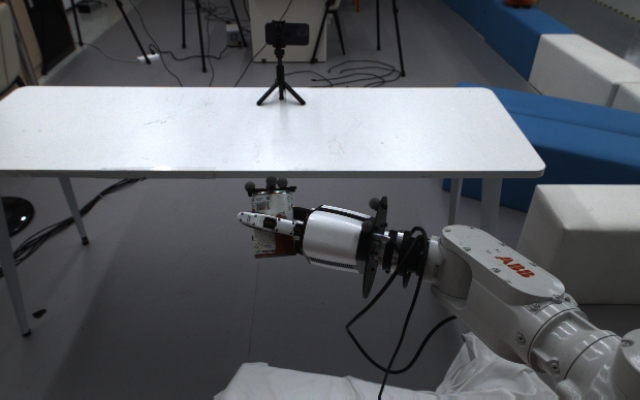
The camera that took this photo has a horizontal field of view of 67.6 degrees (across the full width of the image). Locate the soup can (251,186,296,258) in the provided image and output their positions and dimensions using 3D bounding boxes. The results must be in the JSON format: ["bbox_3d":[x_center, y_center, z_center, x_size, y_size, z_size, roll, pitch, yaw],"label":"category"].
[{"bbox_3d":[-0.073,0.041,0.771,0.067,0.101,0.067,-5,-5,0],"label":"soup can"}]
